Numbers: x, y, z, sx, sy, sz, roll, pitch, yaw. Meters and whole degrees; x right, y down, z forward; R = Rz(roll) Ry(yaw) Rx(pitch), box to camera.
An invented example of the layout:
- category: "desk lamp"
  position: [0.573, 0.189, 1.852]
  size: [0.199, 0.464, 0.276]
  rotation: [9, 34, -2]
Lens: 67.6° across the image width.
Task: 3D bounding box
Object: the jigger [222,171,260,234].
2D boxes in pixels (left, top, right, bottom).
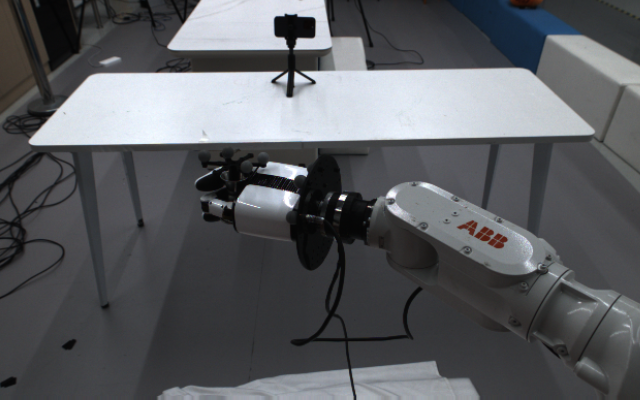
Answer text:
- category: "jigger"
  position: [-0.119, -0.005, 0.701]
  size: [0.043, 0.071, 0.043]
  rotation: [3, 25, -1]
